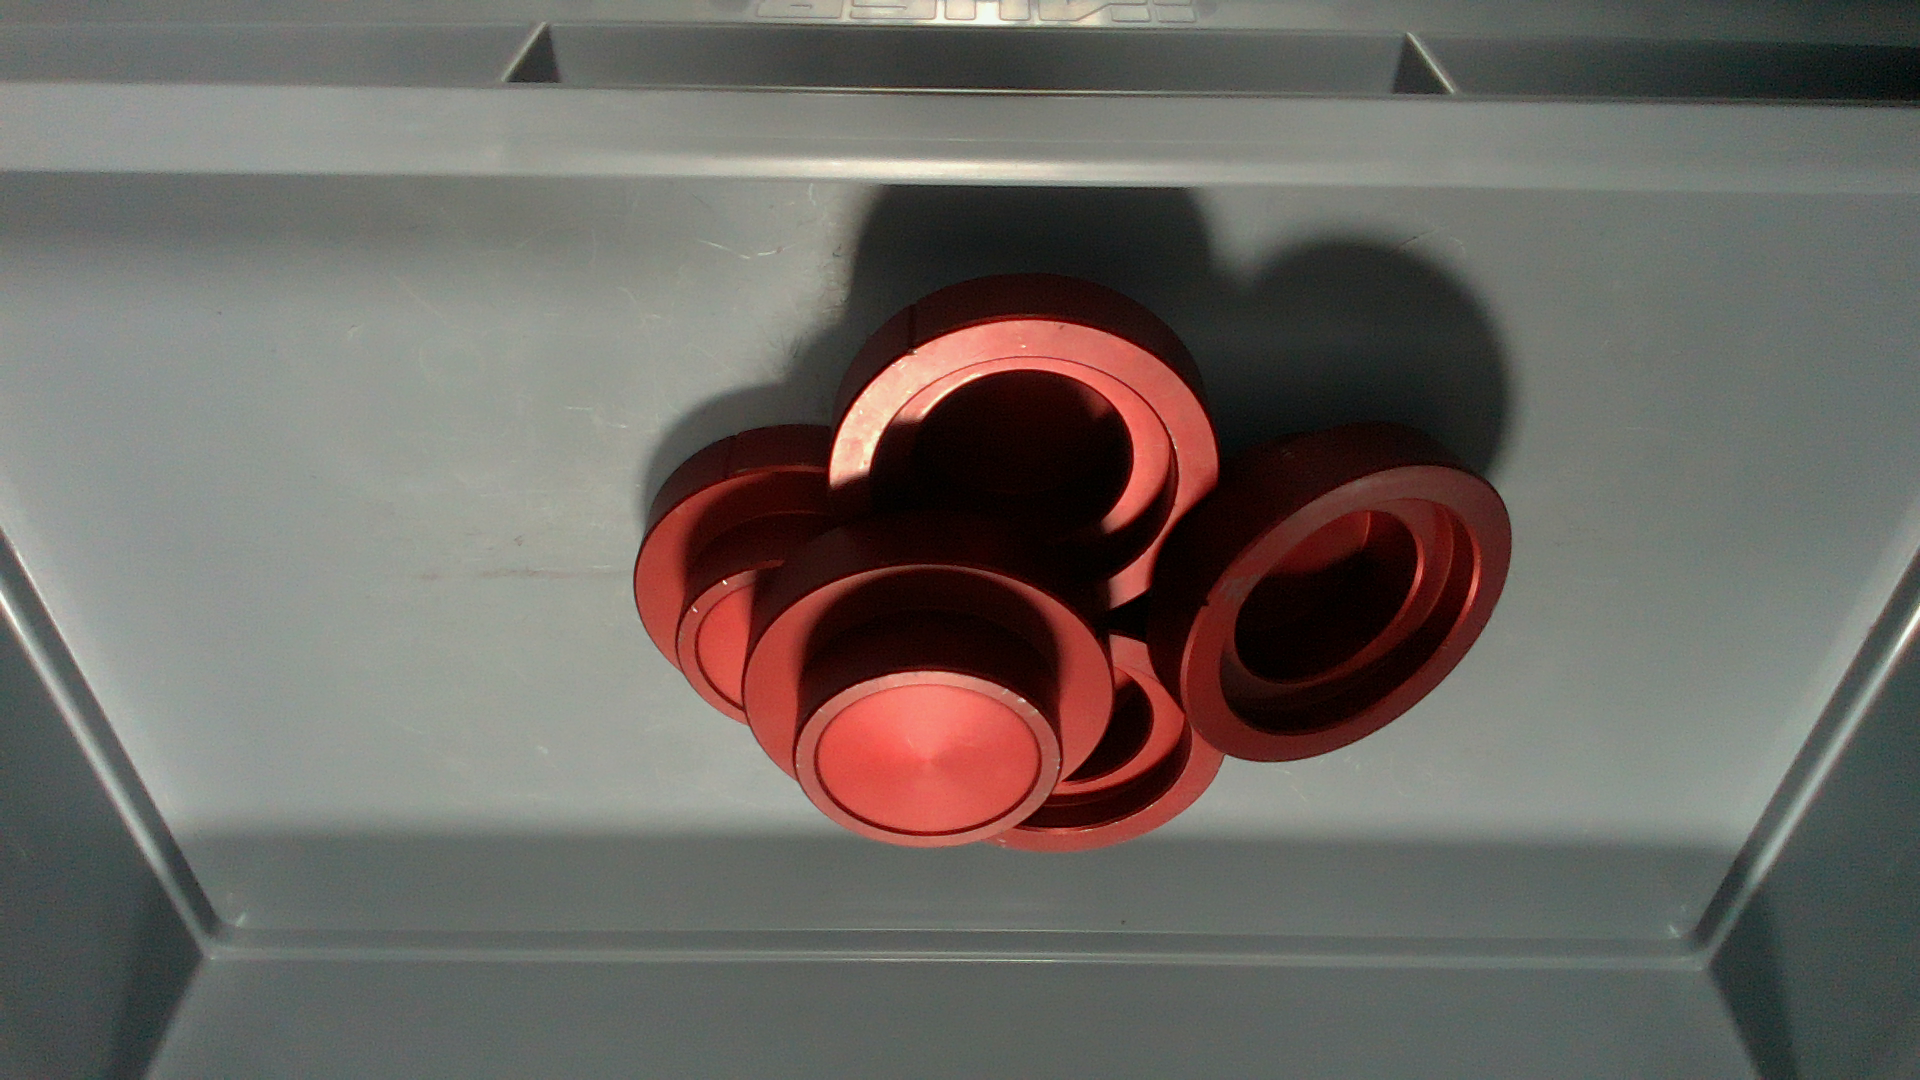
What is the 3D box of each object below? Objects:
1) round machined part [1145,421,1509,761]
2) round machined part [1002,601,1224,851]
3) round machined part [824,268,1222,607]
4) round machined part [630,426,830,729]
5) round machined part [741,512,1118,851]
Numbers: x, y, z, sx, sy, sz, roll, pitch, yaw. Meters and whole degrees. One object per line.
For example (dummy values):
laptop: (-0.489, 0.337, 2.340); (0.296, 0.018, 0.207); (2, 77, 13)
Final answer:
round machined part: (0.094, 0.010, 0.373); (0.098, 0.042, 0.098); (-13, 129, -16)
round machined part: (0.029, 0.048, 0.418); (0.098, 0.042, 0.098); (0, 130, 0)
round machined part: (0.016, -0.027, 0.355); (0.098, 0.042, 0.098); (0, 130, 0)
round machined part: (-0.045, 0.019, 0.392); (0.098, 0.042, 0.098); (0, 130, 0)
round machined part: (-0.008, 0.043, 0.357); (0.098, 0.042, 0.098); (0, 130, 0)
